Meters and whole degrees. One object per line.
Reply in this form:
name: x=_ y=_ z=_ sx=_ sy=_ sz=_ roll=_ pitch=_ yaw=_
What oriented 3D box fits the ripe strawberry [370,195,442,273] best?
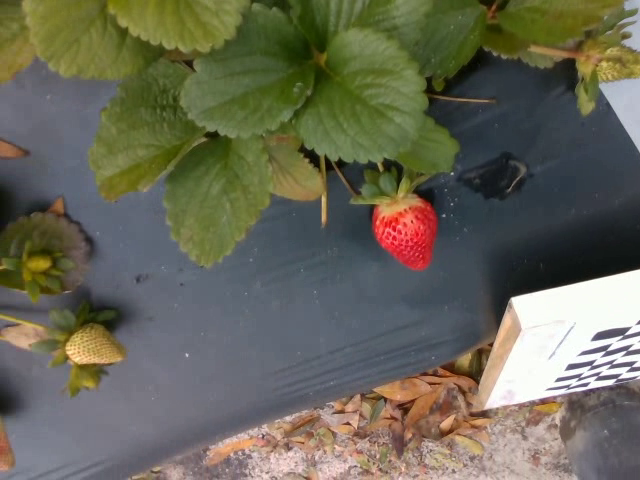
ripe strawberry: x=0.043 y=-0.004 z=0.303 sx=0.036 sy=0.046 sz=0.040 roll=-8 pitch=22 yaw=23
